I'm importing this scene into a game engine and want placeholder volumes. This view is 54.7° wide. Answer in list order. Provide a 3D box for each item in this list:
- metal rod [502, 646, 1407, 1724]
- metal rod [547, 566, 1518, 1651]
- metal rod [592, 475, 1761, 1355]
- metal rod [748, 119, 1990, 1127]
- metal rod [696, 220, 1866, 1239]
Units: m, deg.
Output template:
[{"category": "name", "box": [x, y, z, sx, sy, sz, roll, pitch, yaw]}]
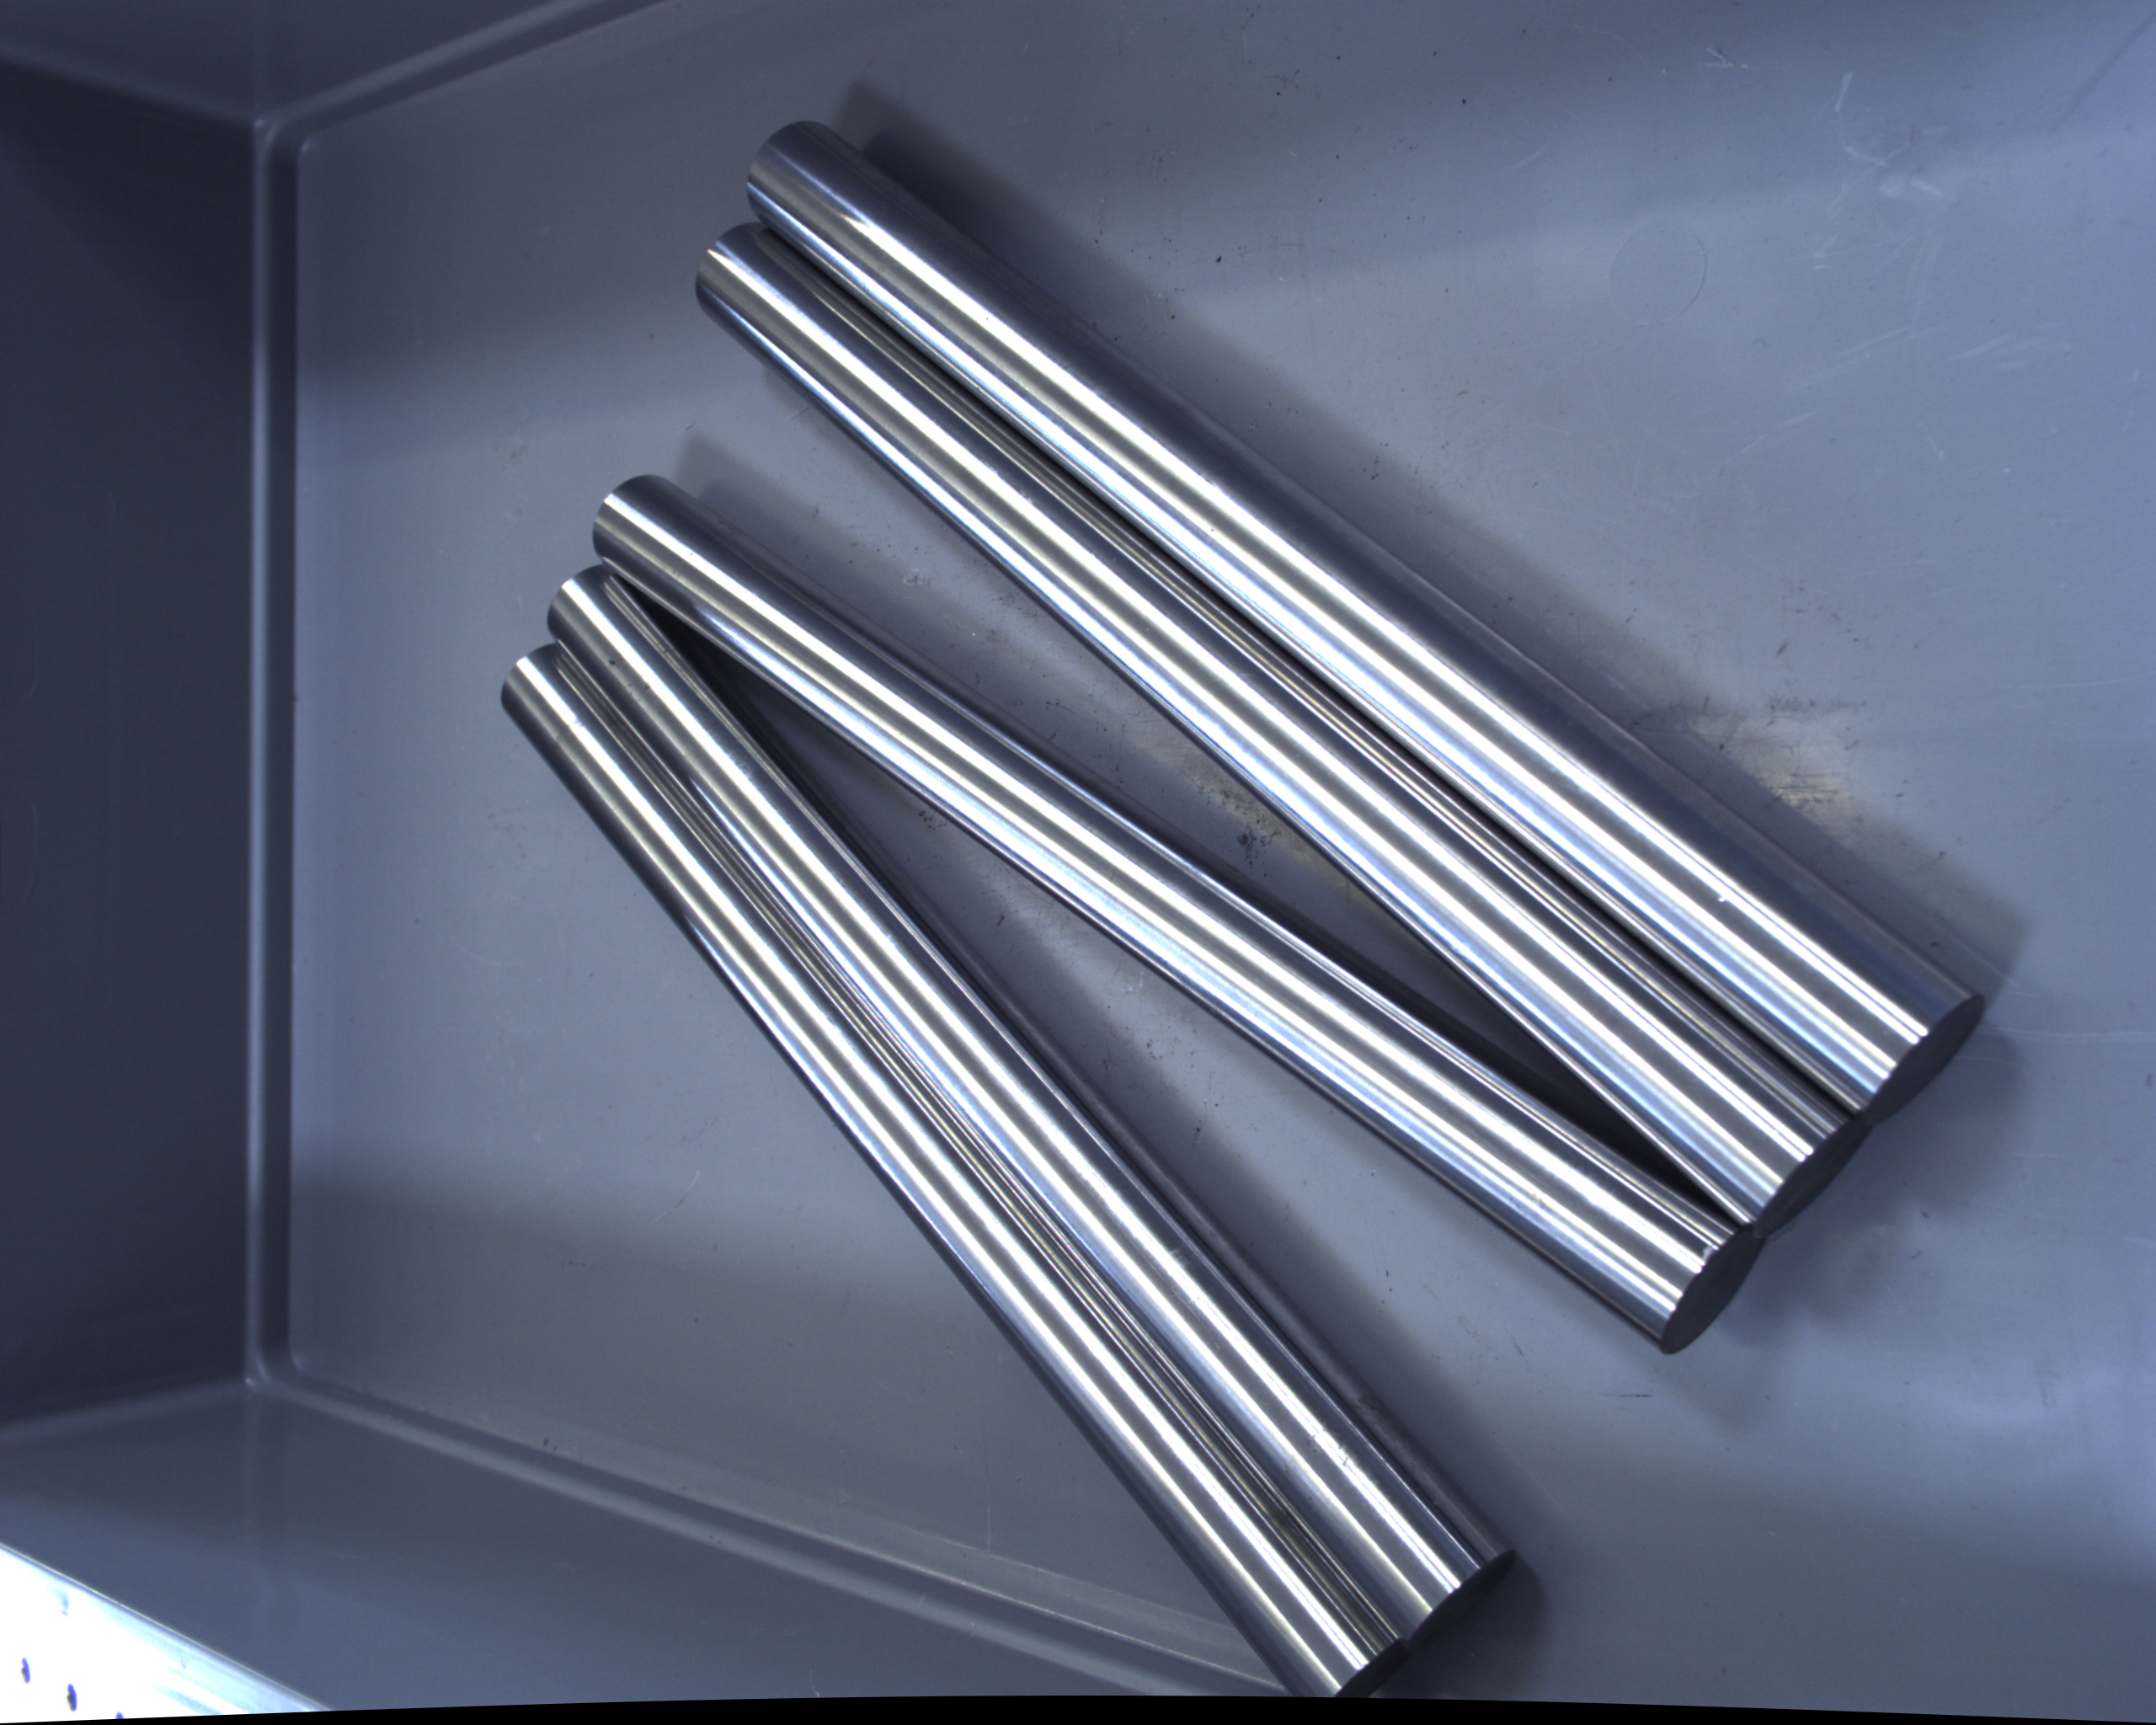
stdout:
[{"category": "metal rod", "box": [-0.040, 0.049, 0.438, 0.300, 0.025, 0.025, 46, 117, 30]}, {"category": "metal rod", "box": [-0.026, 0.032, 0.427, 0.300, 0.025, 0.025, 46, 117, 30]}, {"category": "metal rod", "box": [-0.002, -0.007, 0.407, 0.300, 0.025, 0.025, 36, 112, 34]}, {"category": "metal rod", "box": [0.031, -0.061, 0.380, 0.300, 0.025, 0.025, 44, 117, 31]}, {"category": "metal rod", "box": [0.018, -0.042, 0.390, 0.300, 0.025, 0.025, 44, 117, 31]}]
